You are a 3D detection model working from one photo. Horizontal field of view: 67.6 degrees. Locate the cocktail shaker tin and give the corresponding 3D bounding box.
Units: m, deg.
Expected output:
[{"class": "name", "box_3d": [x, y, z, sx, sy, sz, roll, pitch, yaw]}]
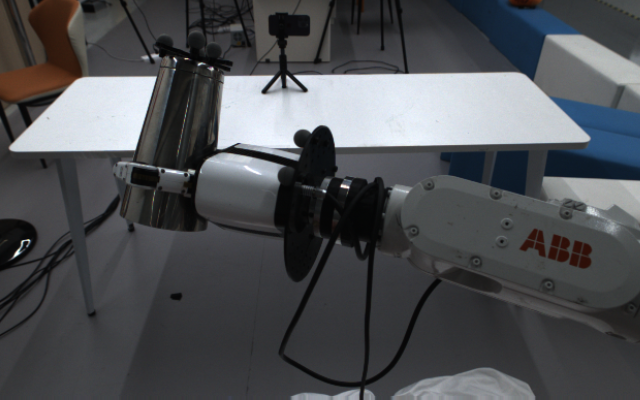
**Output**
[{"class": "cocktail shaker tin", "box_3d": [-0.151, -0.058, 0.520, 0.093, 0.170, 0.093, 12, 4, -1]}]
